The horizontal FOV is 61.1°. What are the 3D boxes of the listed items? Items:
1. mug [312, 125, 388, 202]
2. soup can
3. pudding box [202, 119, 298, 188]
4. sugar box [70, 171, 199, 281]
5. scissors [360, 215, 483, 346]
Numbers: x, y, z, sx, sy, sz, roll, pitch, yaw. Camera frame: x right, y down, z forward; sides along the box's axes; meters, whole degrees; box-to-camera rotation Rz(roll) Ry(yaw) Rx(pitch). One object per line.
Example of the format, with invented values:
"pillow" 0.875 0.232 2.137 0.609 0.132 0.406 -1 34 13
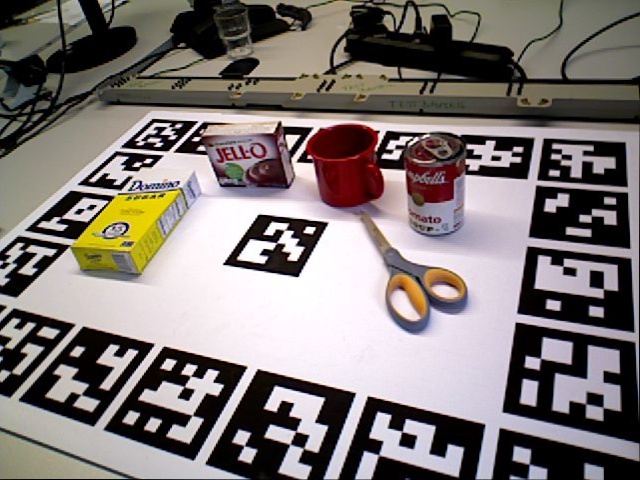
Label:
"mug" 0.047 -0.097 0.694 0.093 0.083 0.116 -20 41 -4
"soup can" 0.141 -0.060 0.624 0.068 0.104 0.067 -8 40 6
"pudding box" -0.093 -0.118 0.743 0.114 0.091 0.038 0 49 14
"sugar box" -0.242 -0.024 0.727 0.093 0.046 0.172 3 46 20
"scissors" 0.094 0.026 0.594 0.087 0.016 0.201 -30 44 -3
